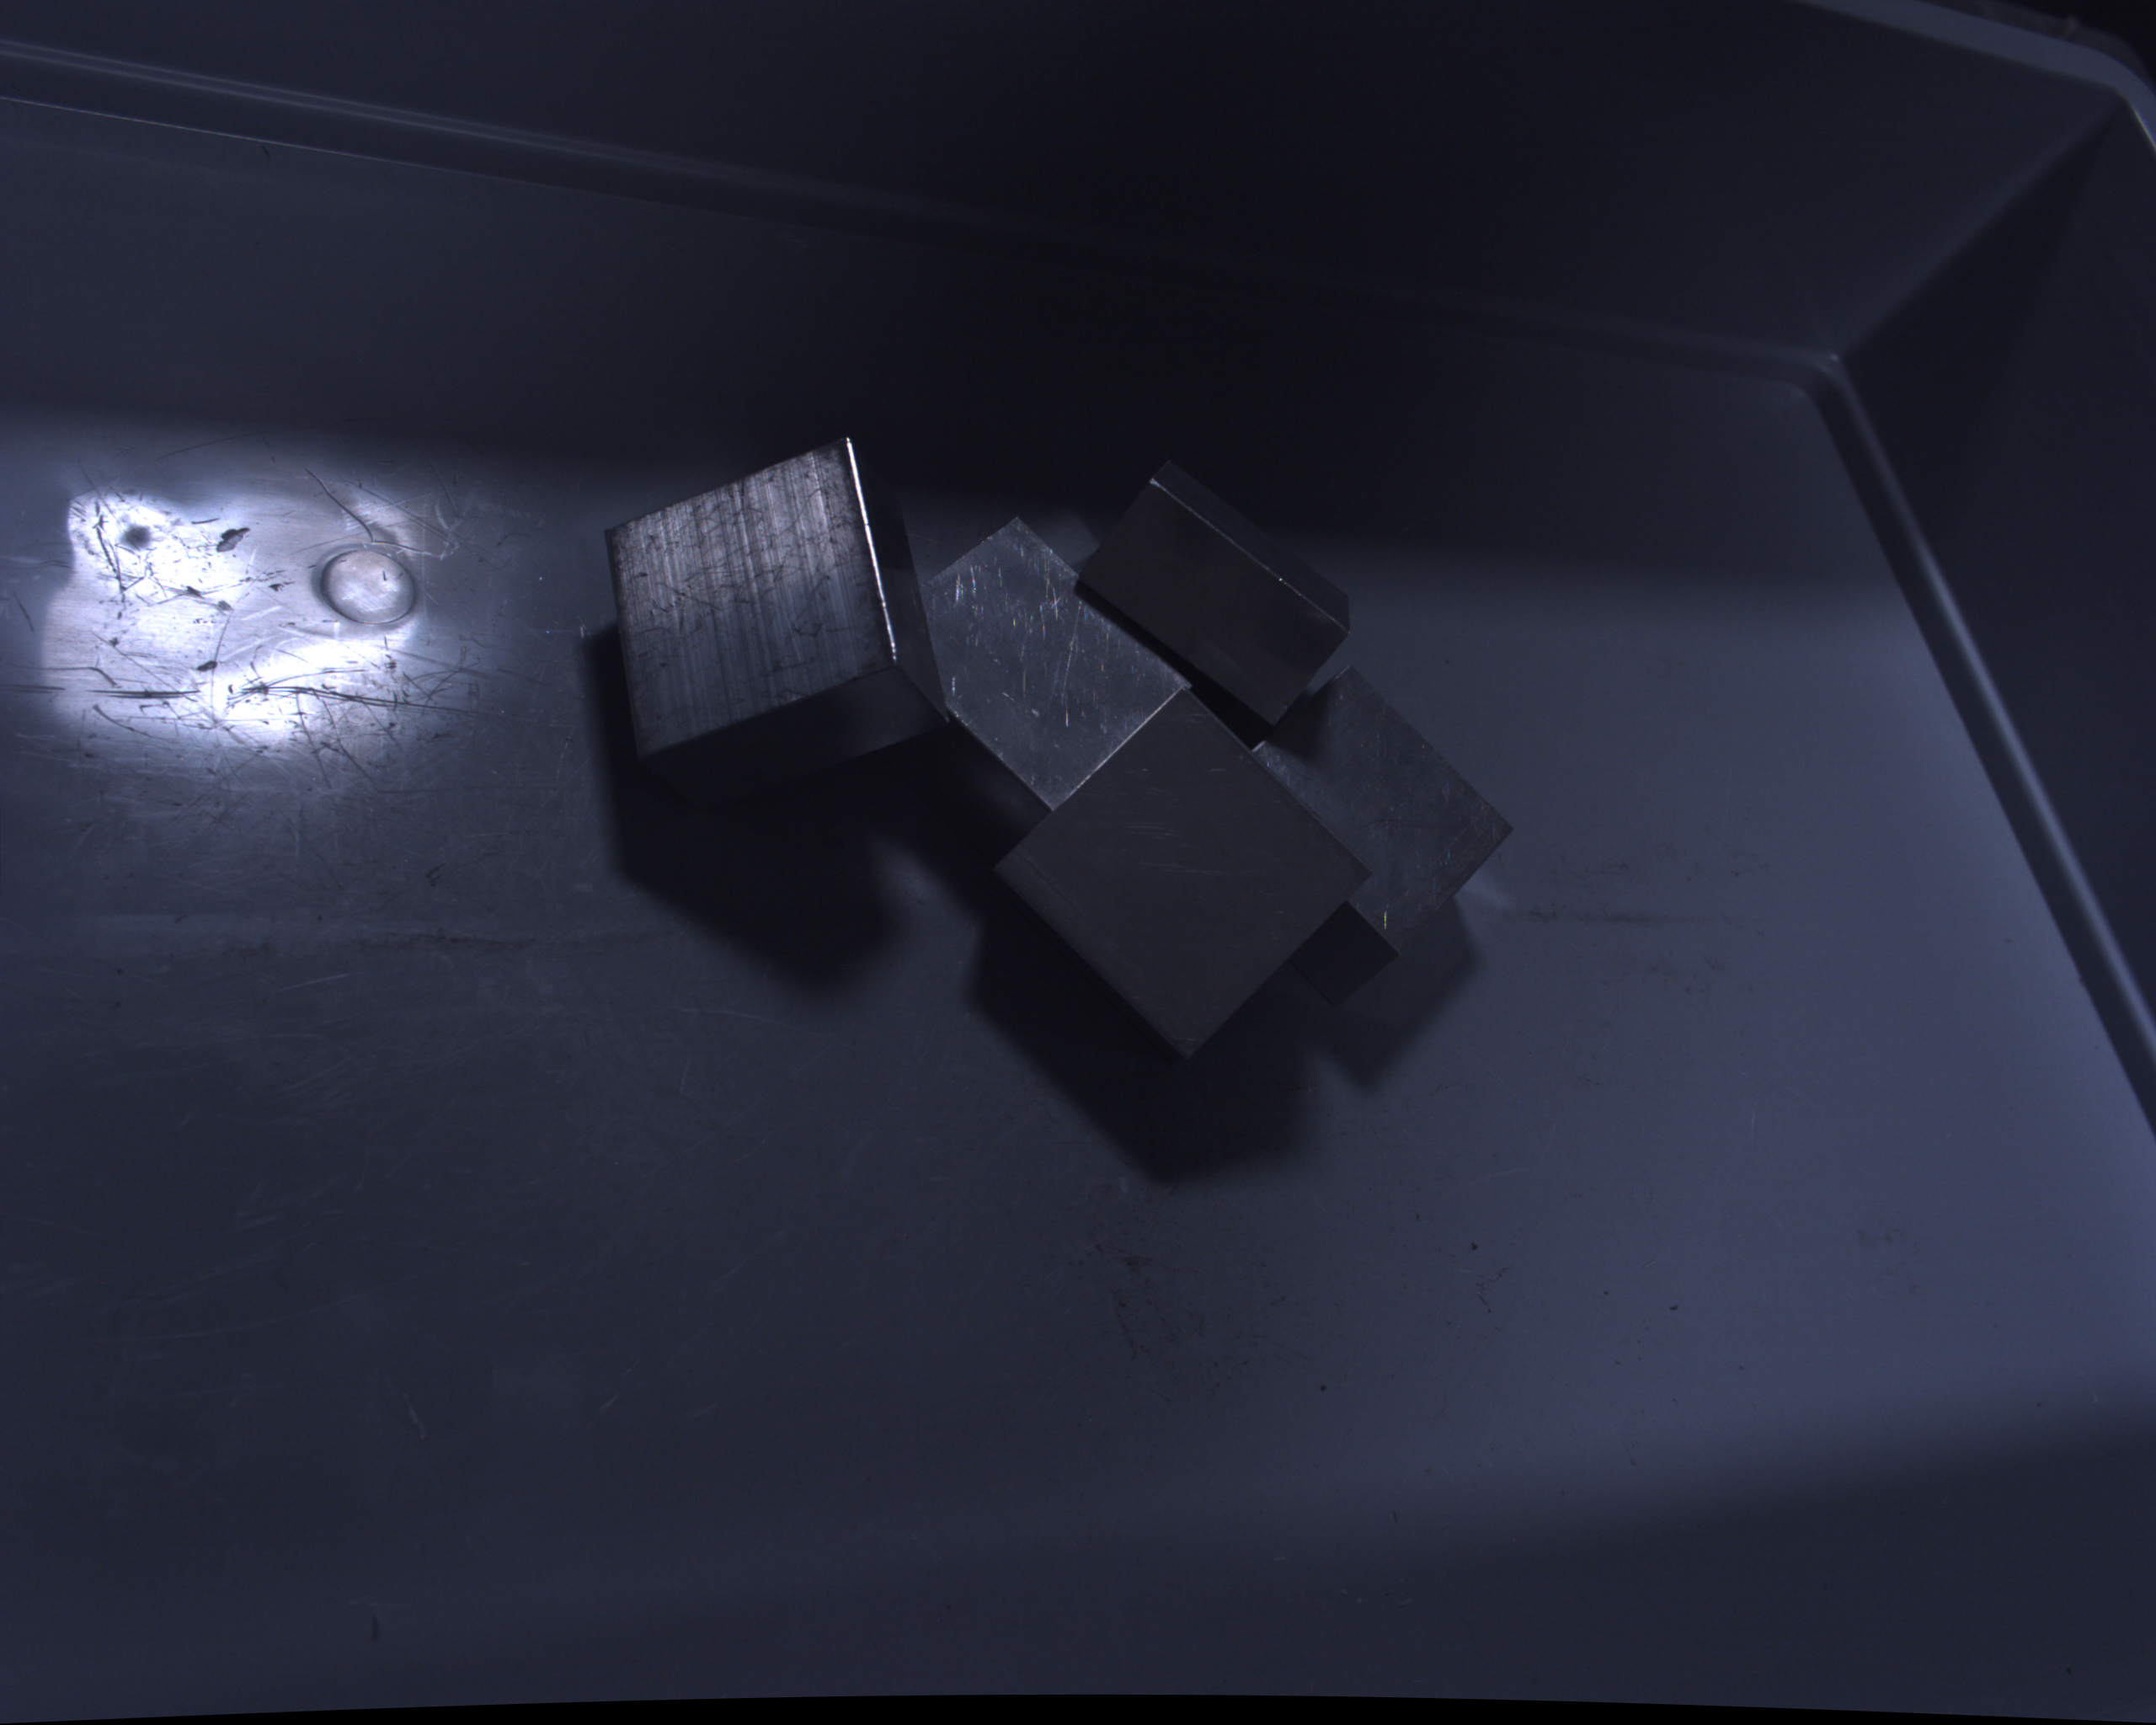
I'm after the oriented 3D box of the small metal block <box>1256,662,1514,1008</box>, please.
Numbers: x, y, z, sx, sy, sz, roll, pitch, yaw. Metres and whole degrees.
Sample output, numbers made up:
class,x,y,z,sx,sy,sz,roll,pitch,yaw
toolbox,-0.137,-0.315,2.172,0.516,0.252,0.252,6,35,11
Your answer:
class,x,y,z,sx,sy,sz,roll,pitch,yaw
small metal block,0.055,-0.006,0.439,0.050,0.025,0.050,46,51,3

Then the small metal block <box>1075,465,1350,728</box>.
class,x,y,z,sx,sy,sz,roll,pitch,yaw
small metal block,0.030,-0.058,0.442,0.050,0.025,0.050,37,16,-4

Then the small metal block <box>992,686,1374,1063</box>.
class,x,y,z,sx,sy,sz,roll,pitch,yaw
small metal block,0.019,0.003,0.398,0.050,0.025,0.050,45,82,3

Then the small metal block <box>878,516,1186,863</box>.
class,x,y,z,sx,sy,sz,roll,pitch,yaw
small metal block,-0.014,-0.034,0.418,0.050,0.025,0.050,44,51,2

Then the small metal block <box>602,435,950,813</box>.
class,x,y,z,sx,sy,sz,roll,pitch,yaw
small metal block,-0.056,-0.043,0.384,0.050,0.025,0.050,-19,64,11
